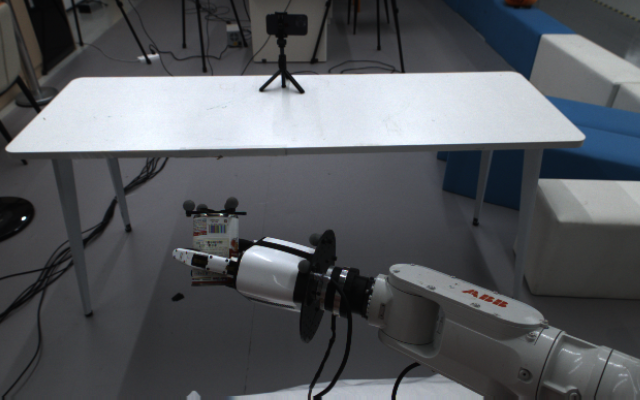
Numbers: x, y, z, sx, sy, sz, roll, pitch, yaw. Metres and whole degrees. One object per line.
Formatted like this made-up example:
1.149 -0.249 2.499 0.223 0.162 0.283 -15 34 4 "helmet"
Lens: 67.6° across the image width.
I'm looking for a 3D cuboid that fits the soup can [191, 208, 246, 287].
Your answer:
-0.152 0.075 0.706 0.067 0.101 0.067 -1 -9 0 "soup can"
